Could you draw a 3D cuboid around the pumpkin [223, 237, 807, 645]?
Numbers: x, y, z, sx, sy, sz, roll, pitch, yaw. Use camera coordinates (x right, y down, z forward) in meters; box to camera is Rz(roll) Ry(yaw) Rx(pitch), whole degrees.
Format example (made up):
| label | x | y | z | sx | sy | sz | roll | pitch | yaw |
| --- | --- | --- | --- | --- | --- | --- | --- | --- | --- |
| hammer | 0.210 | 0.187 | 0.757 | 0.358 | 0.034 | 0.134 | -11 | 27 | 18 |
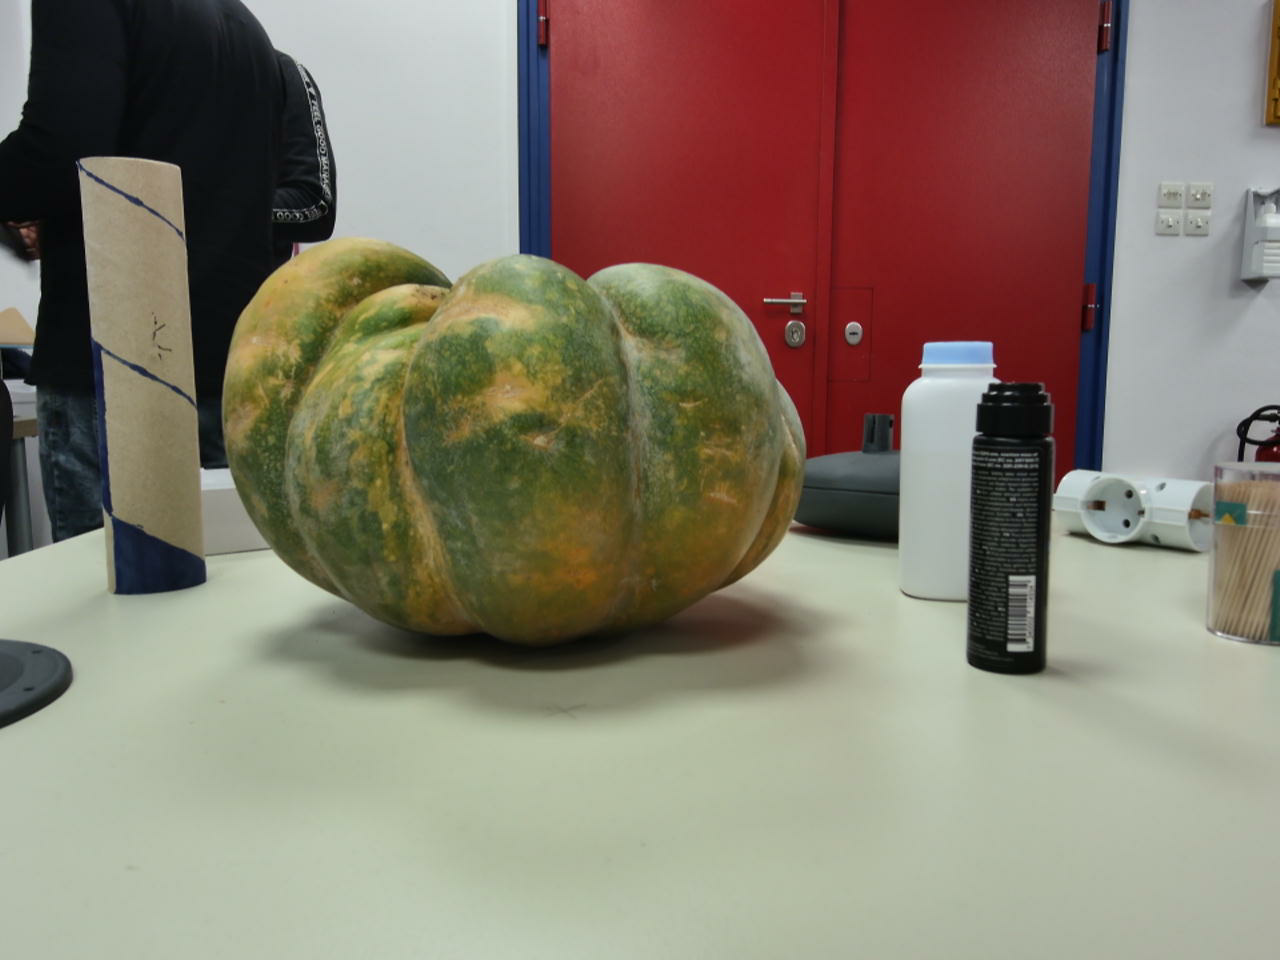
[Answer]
| label | x | y | z | sx | sy | sz | roll | pitch | yaw |
| --- | --- | --- | --- | --- | --- | --- | --- | --- | --- |
| pumpkin | -0.055 | -0.019 | 0.463 | 0.270 | 0.173 | 0.237 | 3 | 5 | 36 |
